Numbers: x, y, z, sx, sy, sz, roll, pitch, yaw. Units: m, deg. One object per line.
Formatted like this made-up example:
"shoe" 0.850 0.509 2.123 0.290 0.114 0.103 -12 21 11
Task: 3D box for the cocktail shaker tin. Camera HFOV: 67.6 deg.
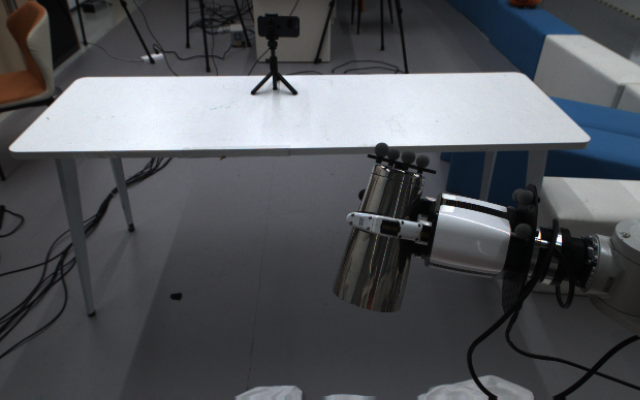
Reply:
"cocktail shaker tin" 0.082 0.044 0.618 0.093 0.170 0.093 14 6 -2
